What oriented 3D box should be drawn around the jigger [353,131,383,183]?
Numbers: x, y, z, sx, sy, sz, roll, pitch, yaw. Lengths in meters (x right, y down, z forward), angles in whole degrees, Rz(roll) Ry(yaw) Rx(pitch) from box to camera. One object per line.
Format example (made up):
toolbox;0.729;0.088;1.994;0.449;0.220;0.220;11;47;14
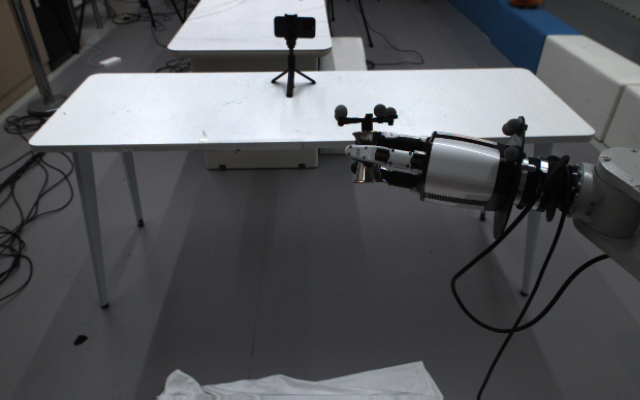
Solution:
jigger;0.064;-0.058;0.659;0.043;0.071;0.043;-2;3;0
